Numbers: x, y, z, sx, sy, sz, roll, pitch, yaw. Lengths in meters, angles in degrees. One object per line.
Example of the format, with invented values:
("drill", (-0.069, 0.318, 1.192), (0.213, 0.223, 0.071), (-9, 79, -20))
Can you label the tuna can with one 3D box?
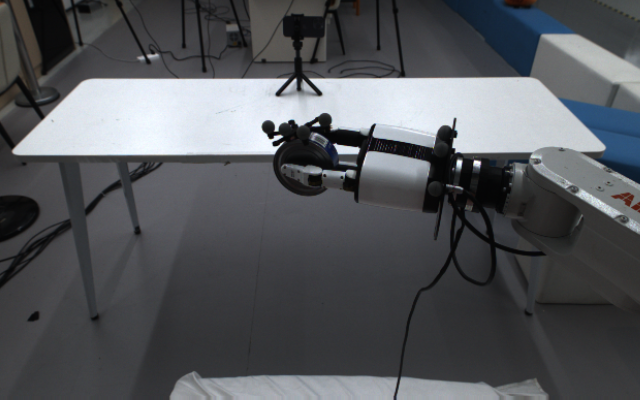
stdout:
("tuna can", (-0.016, -0.045, 0.655), (0.085, 0.085, 0.034), (10, 33, 11))
